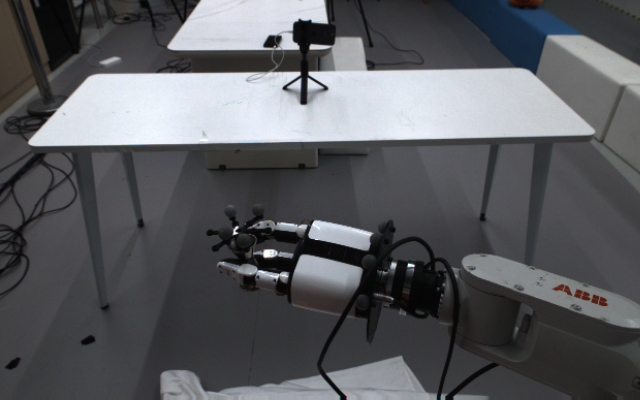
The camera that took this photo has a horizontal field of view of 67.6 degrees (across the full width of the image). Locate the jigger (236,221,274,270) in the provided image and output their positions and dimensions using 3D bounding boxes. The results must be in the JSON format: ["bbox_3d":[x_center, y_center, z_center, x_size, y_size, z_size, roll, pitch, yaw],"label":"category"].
[{"bbox_3d":[-0.095,0.081,0.659,0.043,0.071,0.043,-8,31,5],"label":"jigger"}]
